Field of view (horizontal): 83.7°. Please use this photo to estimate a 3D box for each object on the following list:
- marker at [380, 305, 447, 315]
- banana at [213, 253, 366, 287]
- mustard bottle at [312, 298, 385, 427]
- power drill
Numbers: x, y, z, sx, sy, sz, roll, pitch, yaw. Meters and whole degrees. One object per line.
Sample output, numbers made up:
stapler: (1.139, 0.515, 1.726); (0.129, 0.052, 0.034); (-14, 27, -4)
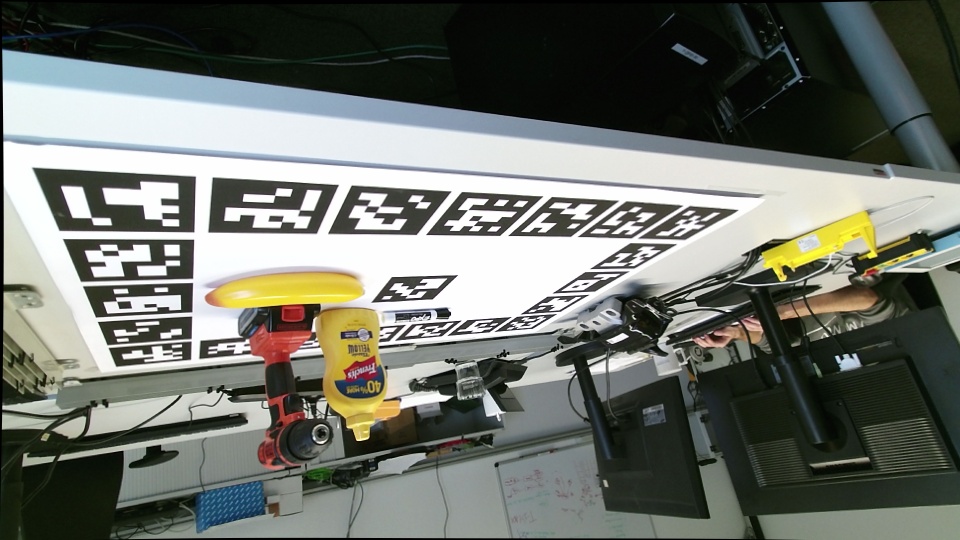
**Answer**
marker: (-0.110, 0.066, 0.914); (0.121, 0.019, 0.019); (1, 152, -33)
banana: (-0.222, 0.001, 0.671); (0.198, 0.038, 0.074); (2, 150, -40)
mustard bottle: (-0.193, 0.139, 0.808); (0.096, 0.190, 0.058); (7, 149, -41)
power drill: (-0.249, 0.125, 0.697); (0.057, 0.186, 0.185); (10, 150, -43)
